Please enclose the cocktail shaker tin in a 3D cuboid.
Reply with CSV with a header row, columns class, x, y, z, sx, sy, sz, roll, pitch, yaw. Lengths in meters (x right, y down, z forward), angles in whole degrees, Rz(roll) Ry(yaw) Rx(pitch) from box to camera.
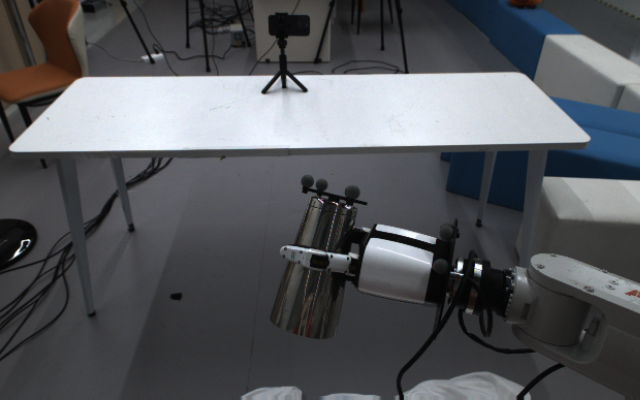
class,x,y,z,sx,sy,sz,roll,pitch,yaw
cocktail shaker tin,-0.002,0.085,0.644,0.093,0.170,0.093,14,2,0
